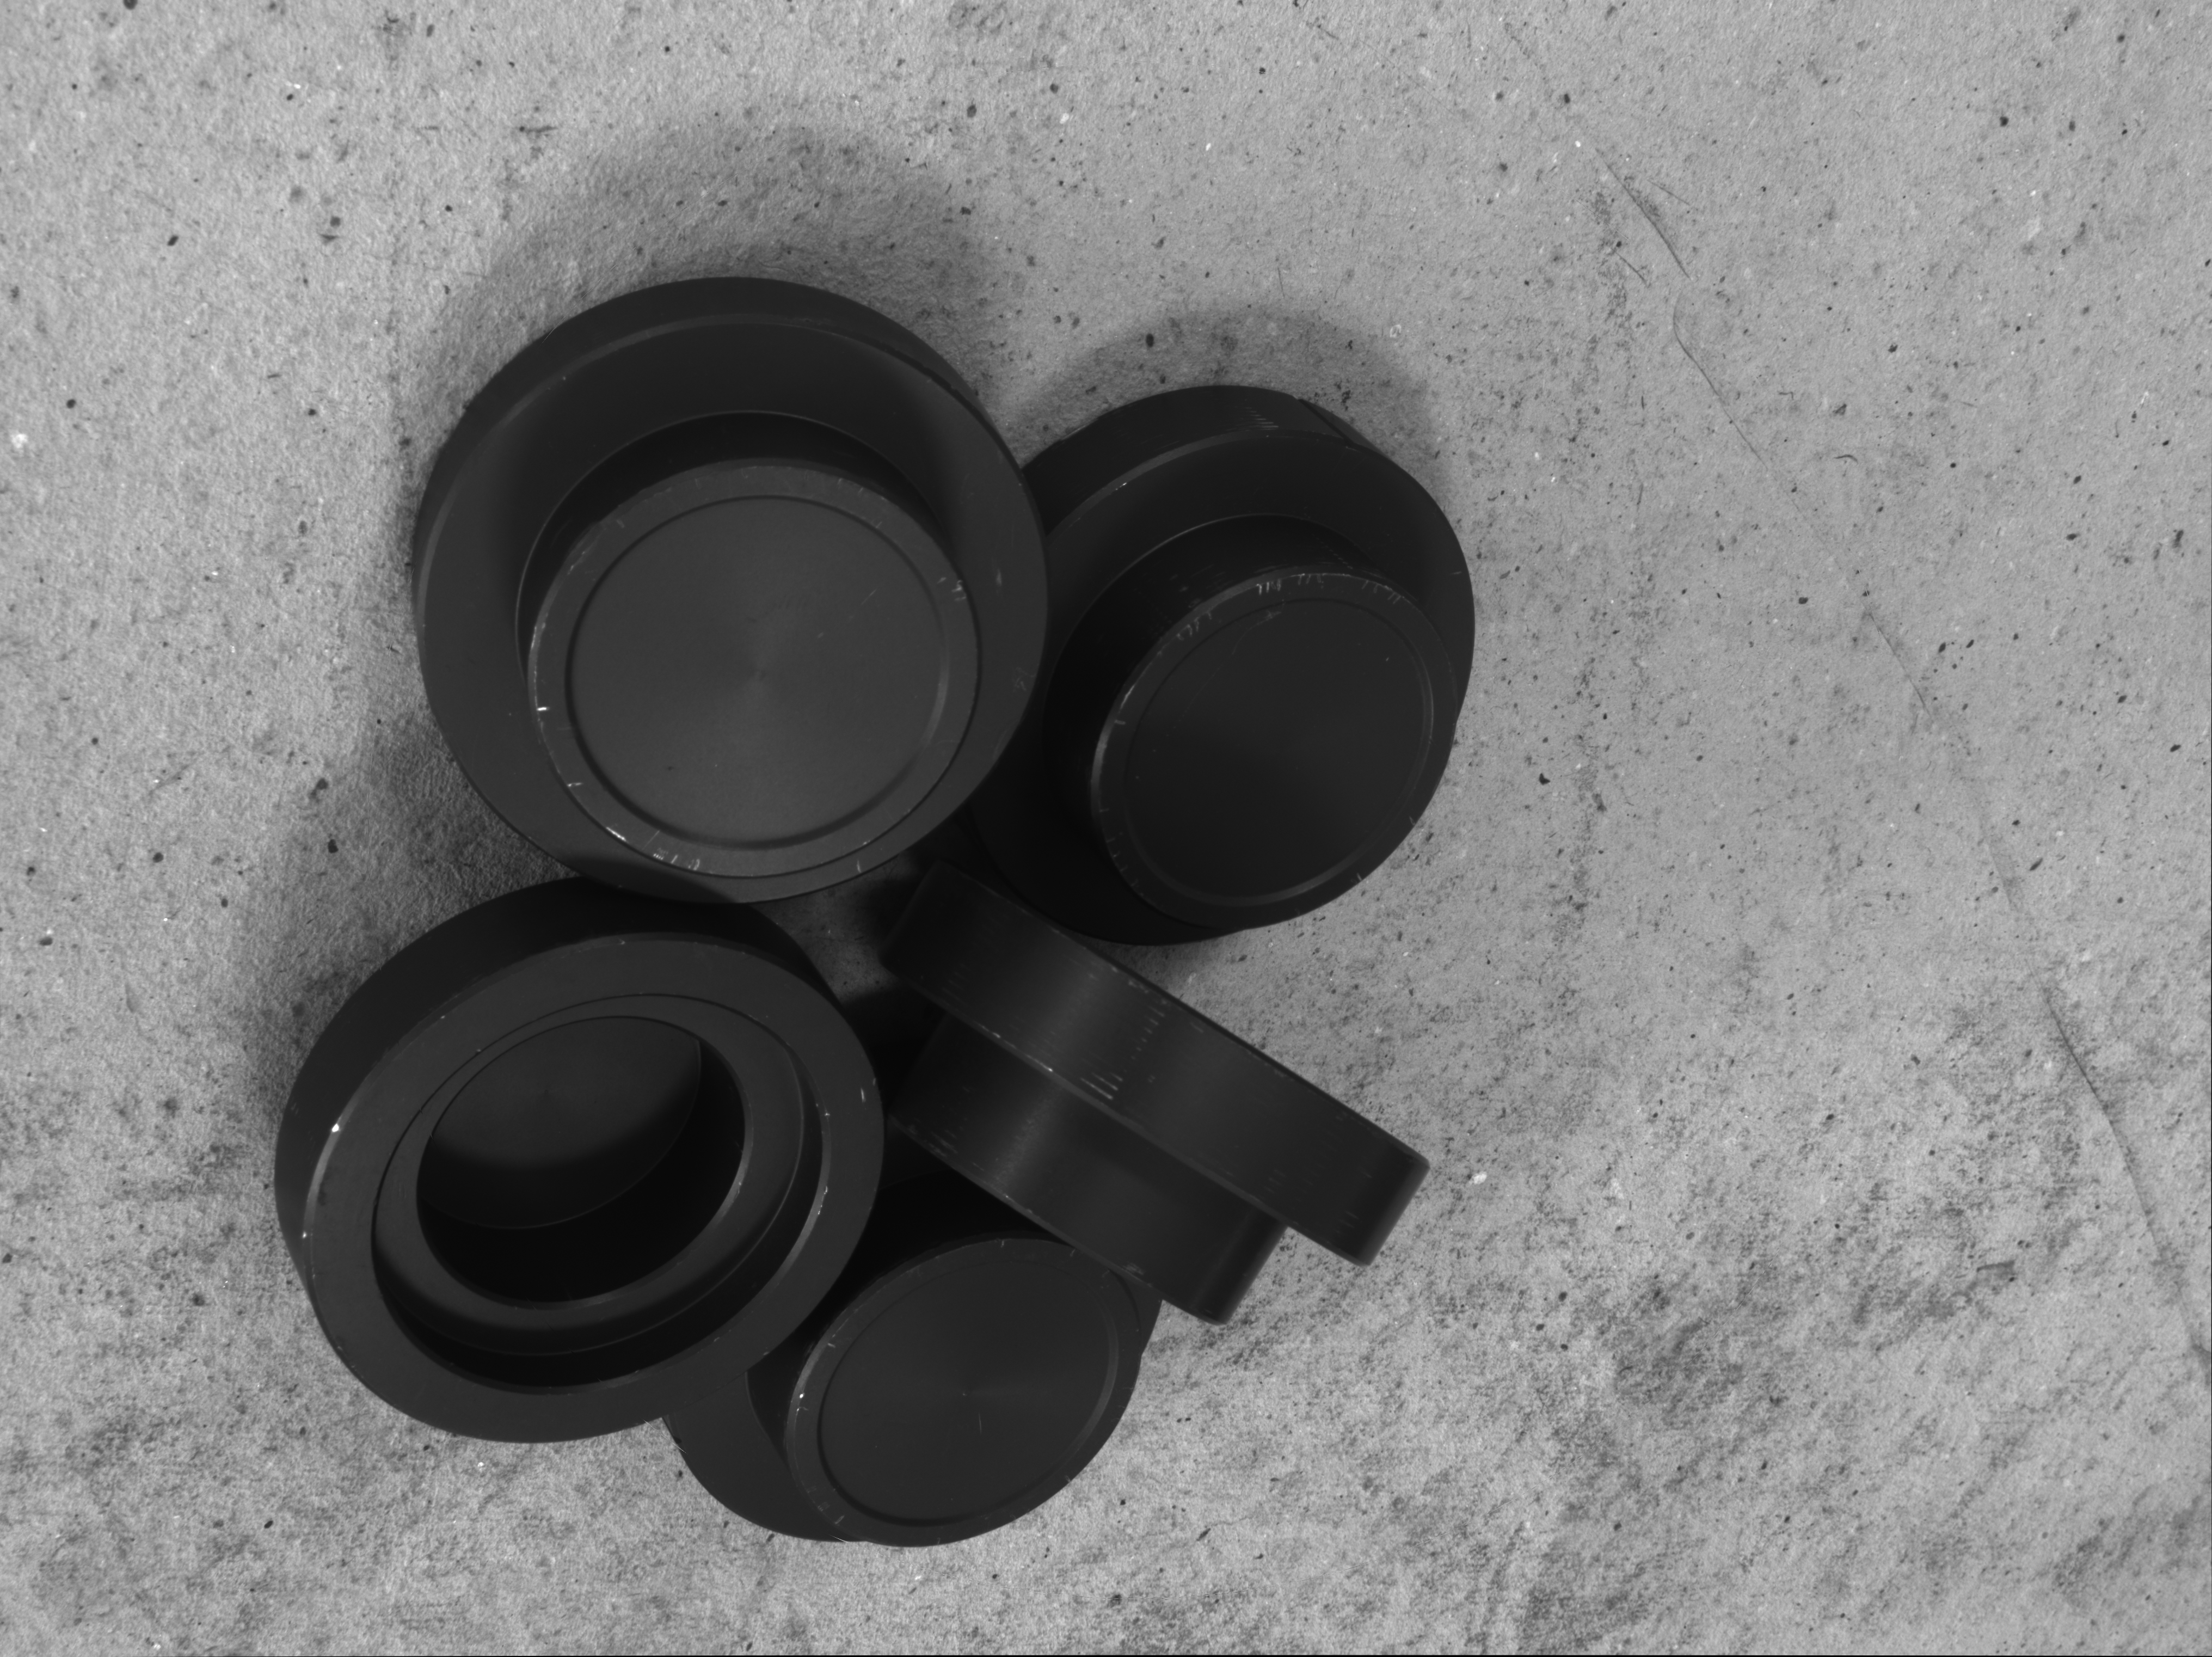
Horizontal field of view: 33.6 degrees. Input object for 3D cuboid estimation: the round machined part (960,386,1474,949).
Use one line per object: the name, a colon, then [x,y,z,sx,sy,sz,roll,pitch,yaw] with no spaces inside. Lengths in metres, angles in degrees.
round machined part: [0.021,-0.022,0.624,0.098,0.042,0.098,-14,123,-22]

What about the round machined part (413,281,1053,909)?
round machined part: [-0.056,-0.031,0.564,0.098,0.042,0.098,-5,116,-11]

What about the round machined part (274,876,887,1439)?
round machined part: [-0.089,0.050,0.608,0.098,0.042,0.098,-14,125,-20]

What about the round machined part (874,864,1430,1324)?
round machined part: [0.002,0.048,0.618,0.098,0.098,0.042,33,86,-38]

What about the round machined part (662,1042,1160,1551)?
round machined part: [-0.032,0.091,0.664,0.098,0.042,0.098,-14,122,-22]
